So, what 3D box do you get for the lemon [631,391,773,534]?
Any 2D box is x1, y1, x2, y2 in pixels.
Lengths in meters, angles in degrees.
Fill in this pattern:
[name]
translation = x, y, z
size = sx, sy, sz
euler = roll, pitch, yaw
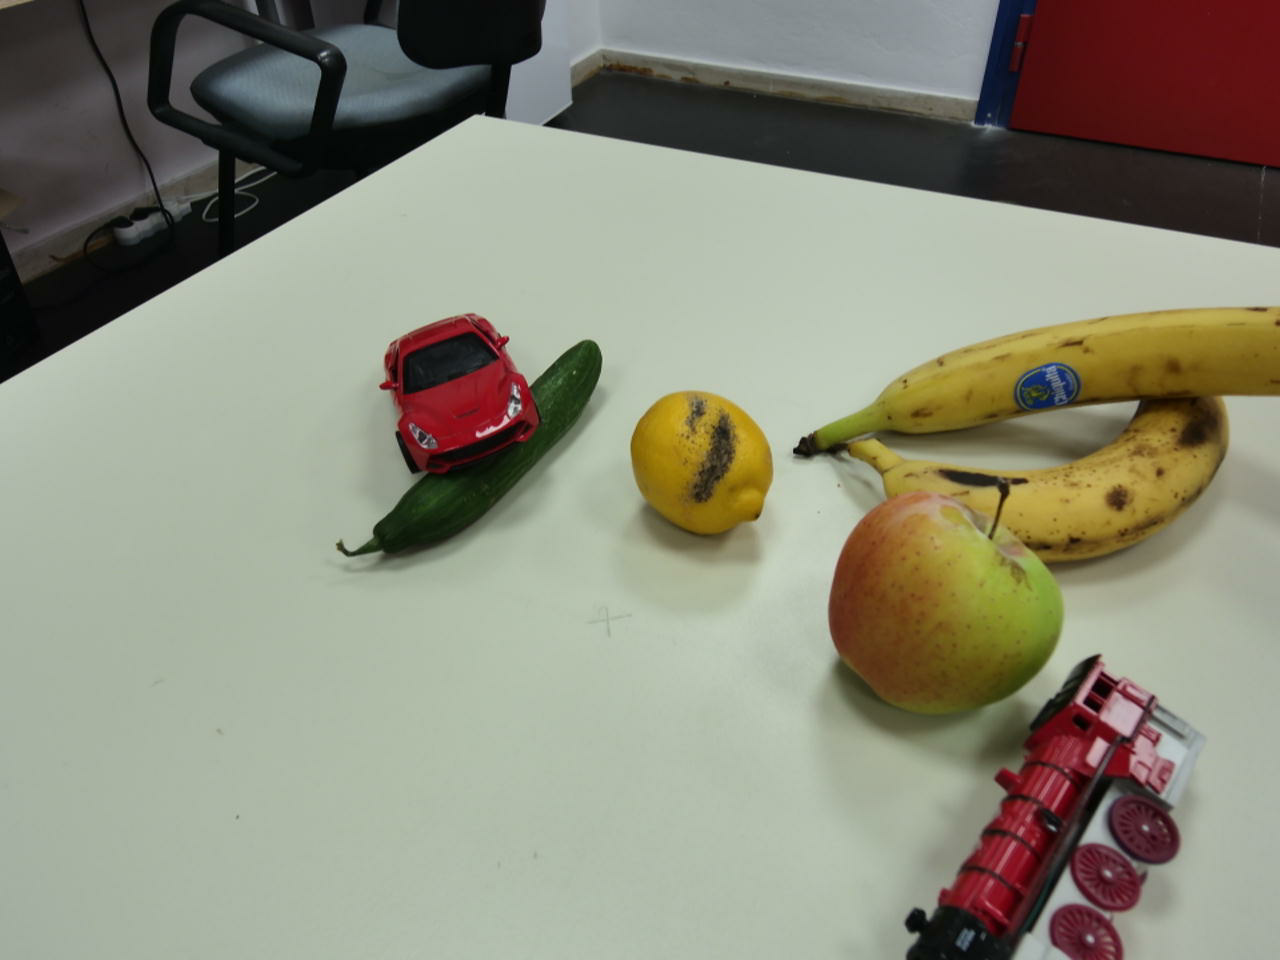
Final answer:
[lemon]
translation = 0.026, -0.008, 0.420
size = 0.061, 0.056, 0.058
euler = 11, 39, 15
